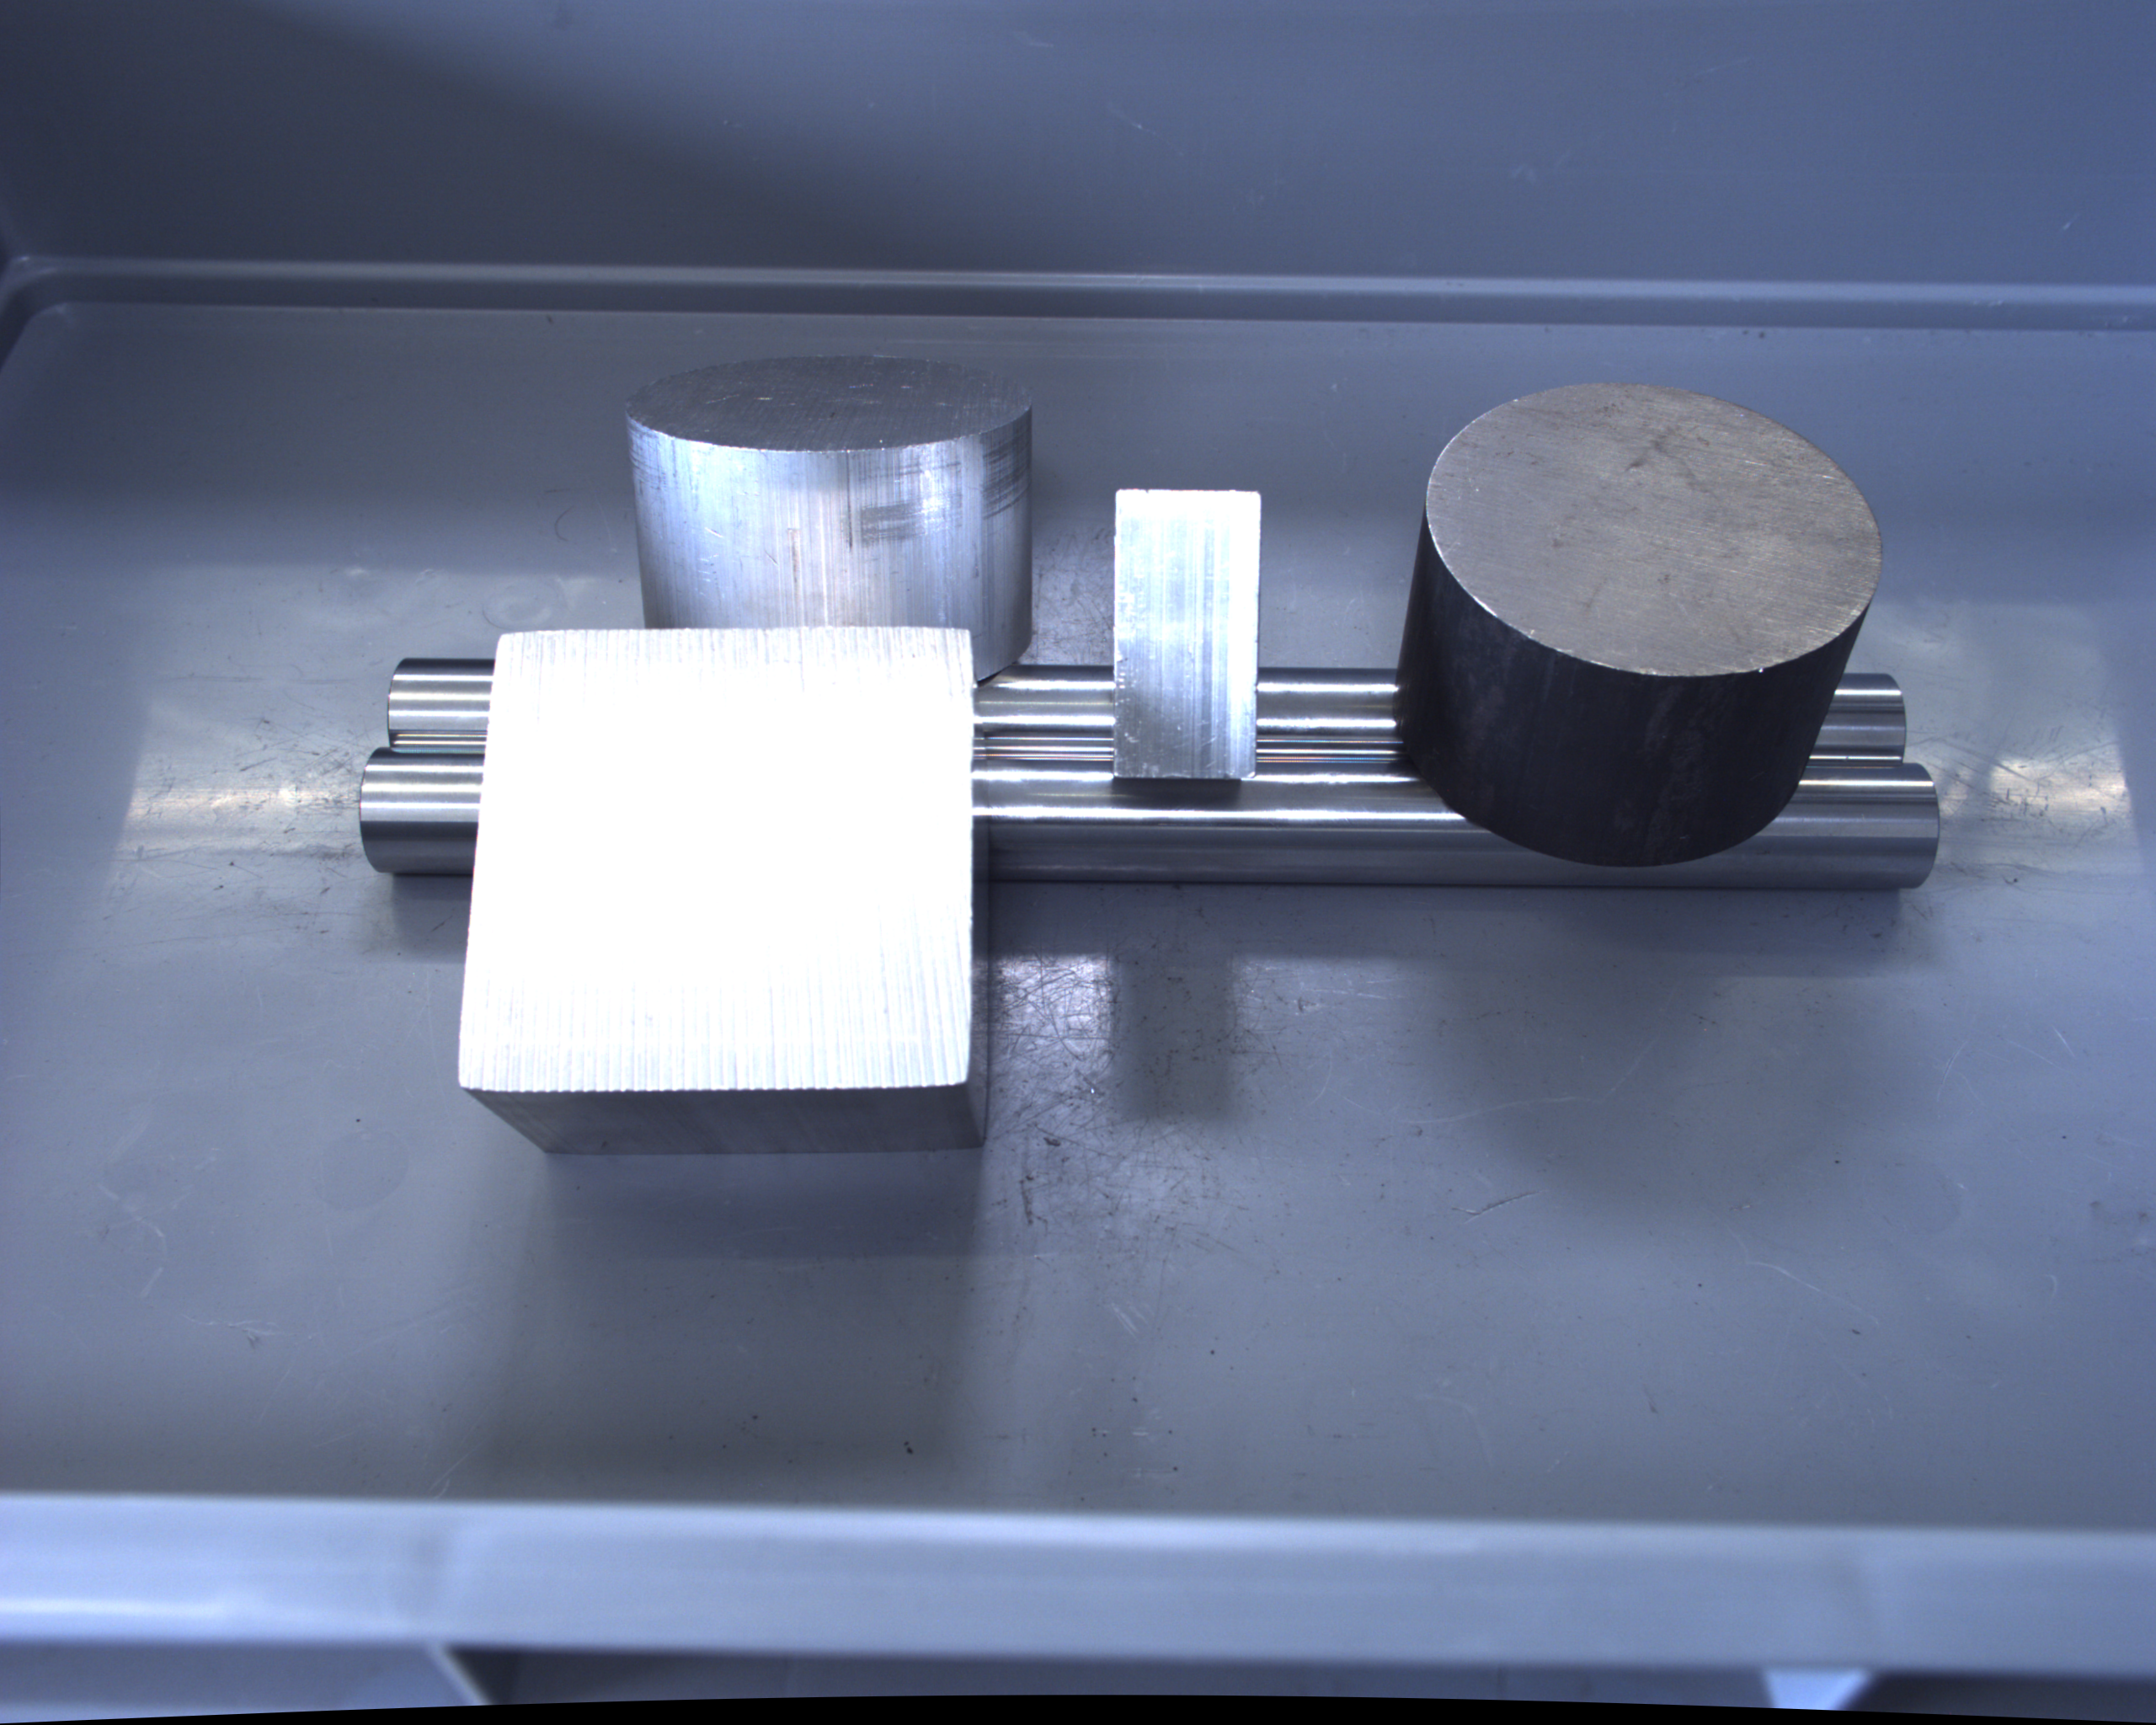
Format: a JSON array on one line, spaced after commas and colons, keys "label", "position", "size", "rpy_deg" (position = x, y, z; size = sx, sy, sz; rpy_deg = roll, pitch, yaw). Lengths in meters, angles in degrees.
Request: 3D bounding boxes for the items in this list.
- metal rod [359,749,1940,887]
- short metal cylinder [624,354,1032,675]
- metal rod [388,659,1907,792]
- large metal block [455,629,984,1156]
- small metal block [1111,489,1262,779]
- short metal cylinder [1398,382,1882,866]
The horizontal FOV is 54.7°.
[{"label": "metal rod", "position": [0.014, -0.009, 0.411], "size": [0.302, 0.025, 0.025], "rpy_deg": [1, 50, 0]}, {"label": "short metal cylinder", "position": [-0.050, -0.070, 0.427], "size": [0.081, 0.050, 0.080], "rpy_deg": [1, 26, 0]}, {"label": "metal rod", "position": [0.014, -0.028, 0.427], "size": [0.302, 0.025, 0.025], "rpy_deg": [1, 50, 0]}, {"label": "large metal block", "position": [-0.057, 0.006, 0.363], "size": [0.081, 0.050, 0.080], "rpy_deg": [0, 70, -1]}, {"label": "small metal block", "position": [0.019, -0.043, 0.386], "size": [0.025, 0.050, 0.050], "rpy_deg": [1, 8, 0]}, {"label": "short metal cylinder", "position": [0.103, -0.046, 0.394], "size": [0.081, 0.050, 0.080], "rpy_deg": [0, 50, 0]}]
